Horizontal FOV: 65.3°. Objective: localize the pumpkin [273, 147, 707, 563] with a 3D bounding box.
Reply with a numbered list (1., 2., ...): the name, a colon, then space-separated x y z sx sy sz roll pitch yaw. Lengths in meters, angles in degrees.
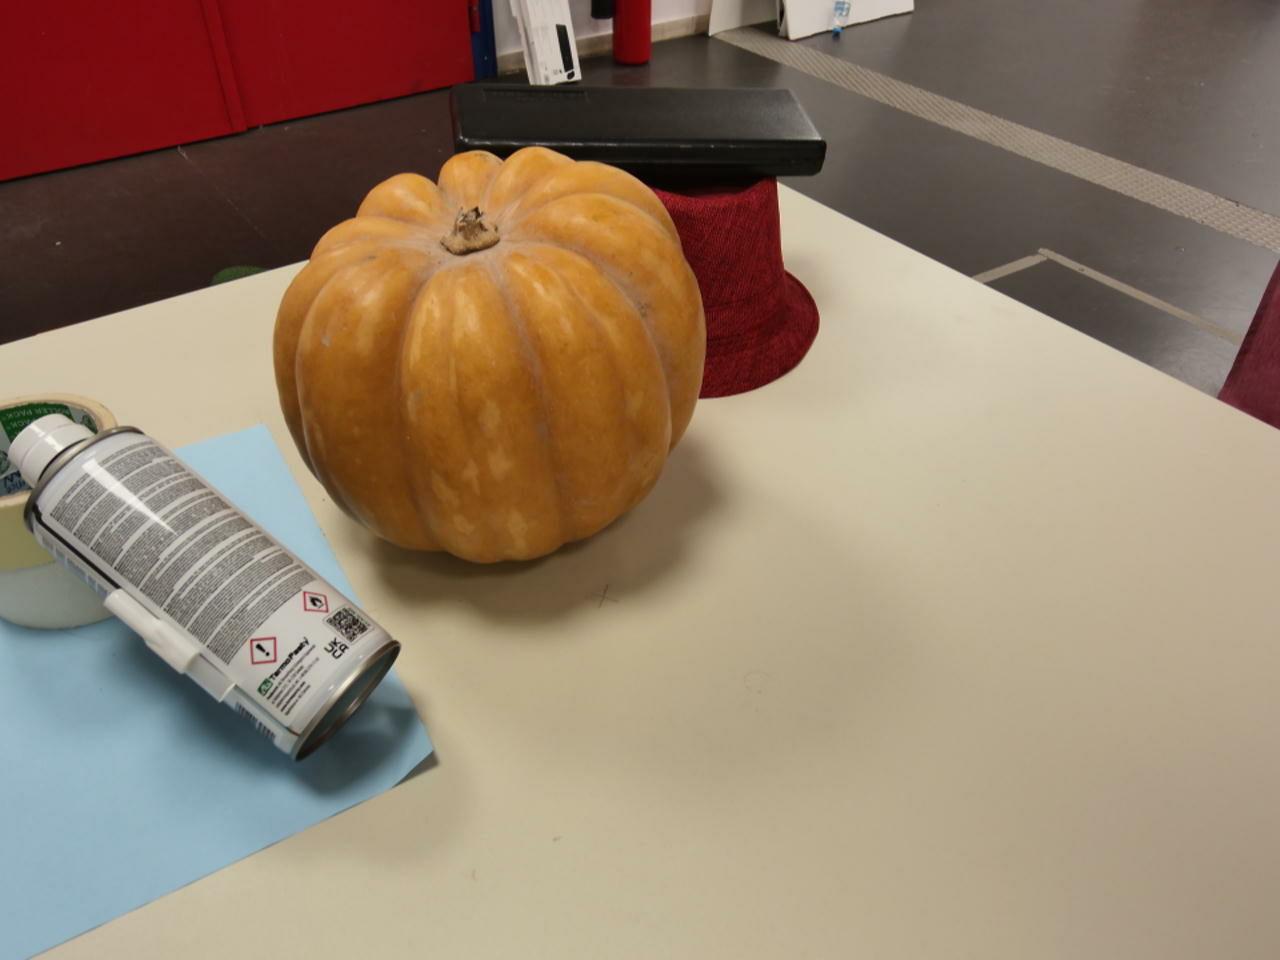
1. pumpkin: -0.075 -0.065 0.537 0.230 0.194 0.230 0 39 0
